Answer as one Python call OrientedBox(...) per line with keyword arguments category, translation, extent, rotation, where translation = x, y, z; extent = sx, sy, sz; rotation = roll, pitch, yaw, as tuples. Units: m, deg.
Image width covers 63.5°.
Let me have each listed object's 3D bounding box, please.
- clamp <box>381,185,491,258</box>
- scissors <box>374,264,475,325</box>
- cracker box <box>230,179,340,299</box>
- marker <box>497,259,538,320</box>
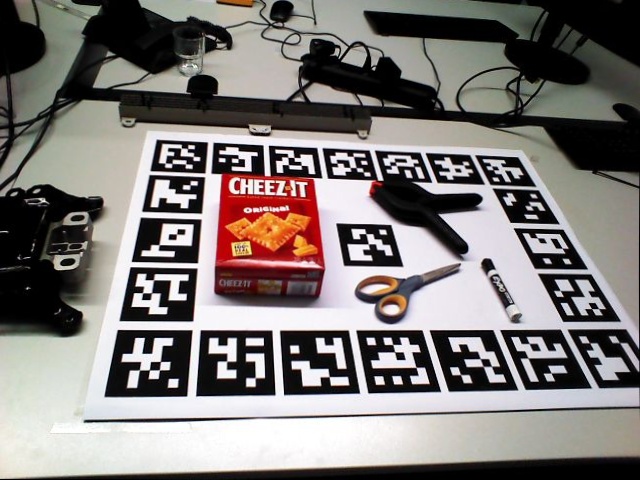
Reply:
OrientedBox(category="clamp", translation=(0.207, -0.055, 0.966), extent=(0.203, 0.037, 0.164), rotation=(23, 44, 12))
OrientedBox(category="scissors", translation=(0.177, 0.071, 0.823), extent=(0.202, 0.016, 0.088), rotation=(-20, 50, -30))
OrientedBox(category="cracker box", translation=(-0.058, -0.008, 0.828), extent=(0.164, 0.072, 0.212), rotation=(2, 44, -8))
OrientedBox(category="marker", translation=(0.319, 0.077, 0.841), extent=(0.019, 0.020, 0.120), rotation=(-2, 44, -11))
